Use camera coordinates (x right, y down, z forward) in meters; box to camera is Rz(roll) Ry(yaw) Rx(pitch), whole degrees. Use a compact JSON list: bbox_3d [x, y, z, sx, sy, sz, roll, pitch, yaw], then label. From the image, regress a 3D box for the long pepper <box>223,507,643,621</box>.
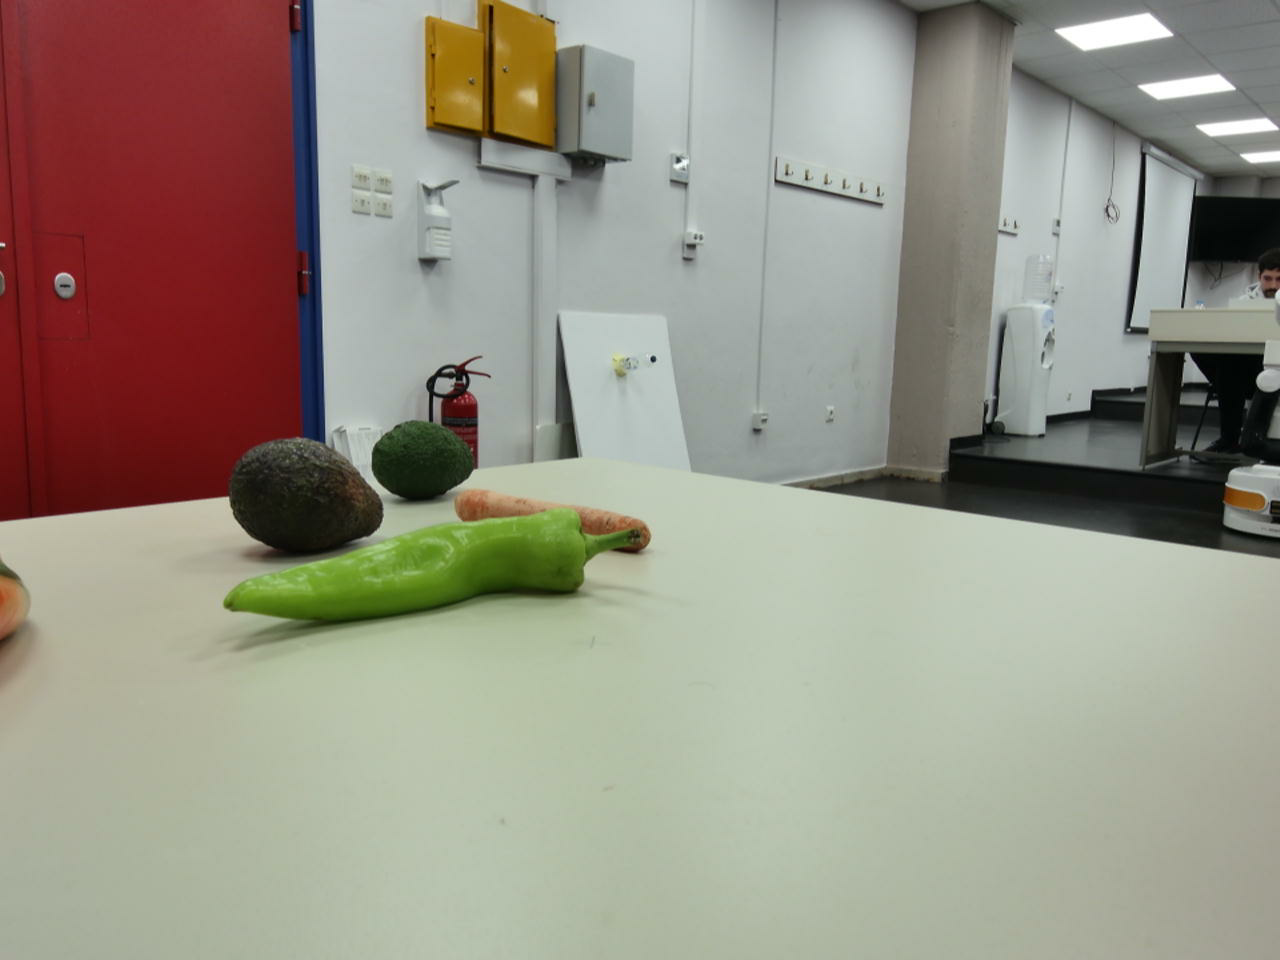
[{"bbox_3d":[-0.102,0.042,0.501,0.204,0.045,0.065,-5,8,-32],"label":"long pepper"}]
